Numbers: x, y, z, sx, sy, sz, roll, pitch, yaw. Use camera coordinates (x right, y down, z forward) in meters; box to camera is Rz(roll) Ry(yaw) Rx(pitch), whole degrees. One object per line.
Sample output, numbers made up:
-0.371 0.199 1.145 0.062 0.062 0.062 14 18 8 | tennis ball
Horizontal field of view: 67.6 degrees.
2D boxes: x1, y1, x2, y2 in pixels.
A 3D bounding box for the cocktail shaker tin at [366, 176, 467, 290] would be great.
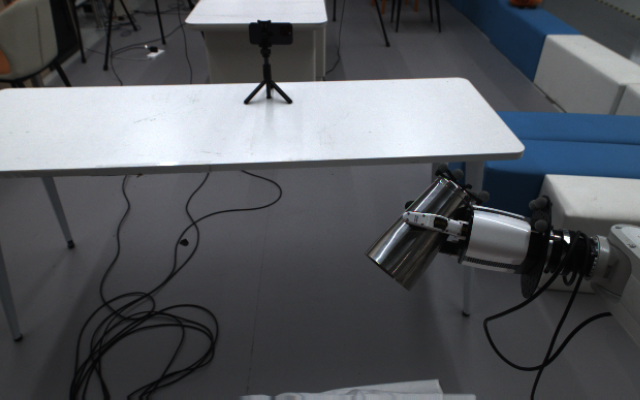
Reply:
0.160 0.045 0.765 0.170 0.093 0.093 -48 49 -3 | cocktail shaker tin
